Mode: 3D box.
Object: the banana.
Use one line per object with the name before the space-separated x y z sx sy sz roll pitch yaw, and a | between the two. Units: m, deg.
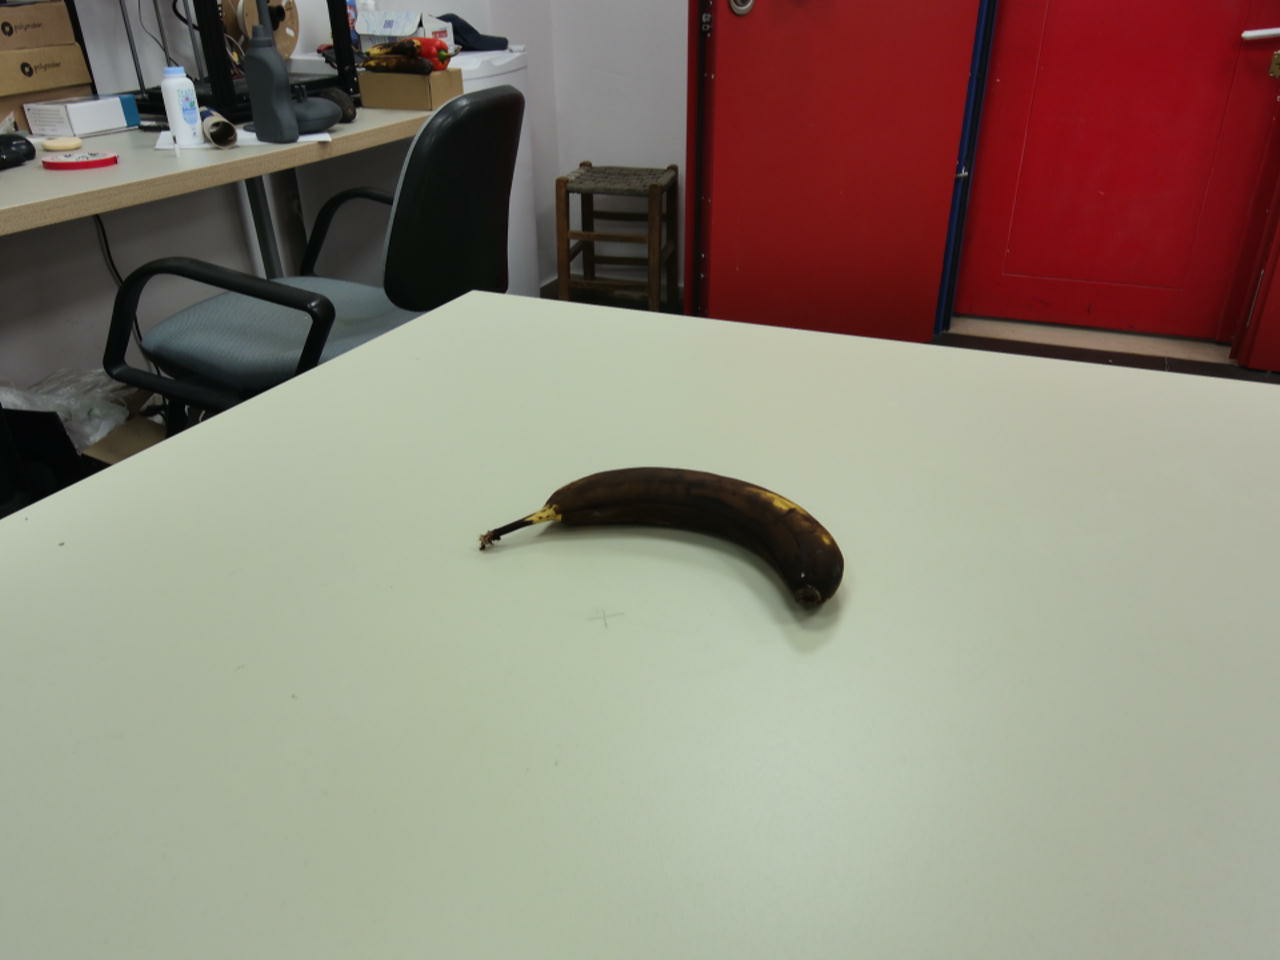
banana | 0.018 0.021 0.519 0.188 0.034 0.091 11 28 24
